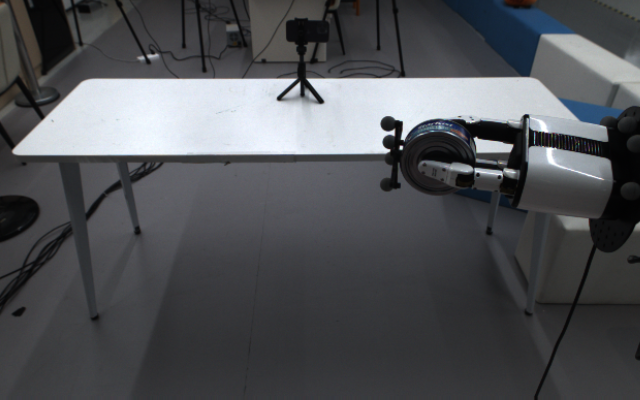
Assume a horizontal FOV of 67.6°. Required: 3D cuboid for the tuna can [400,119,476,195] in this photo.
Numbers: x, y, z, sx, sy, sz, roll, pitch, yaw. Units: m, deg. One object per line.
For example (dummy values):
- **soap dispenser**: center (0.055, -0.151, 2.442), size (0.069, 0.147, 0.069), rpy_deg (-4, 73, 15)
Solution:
- **tuna can**: center (0.139, -0.054, 0.565), size (0.085, 0.085, 0.034), rpy_deg (9, 31, 10)
